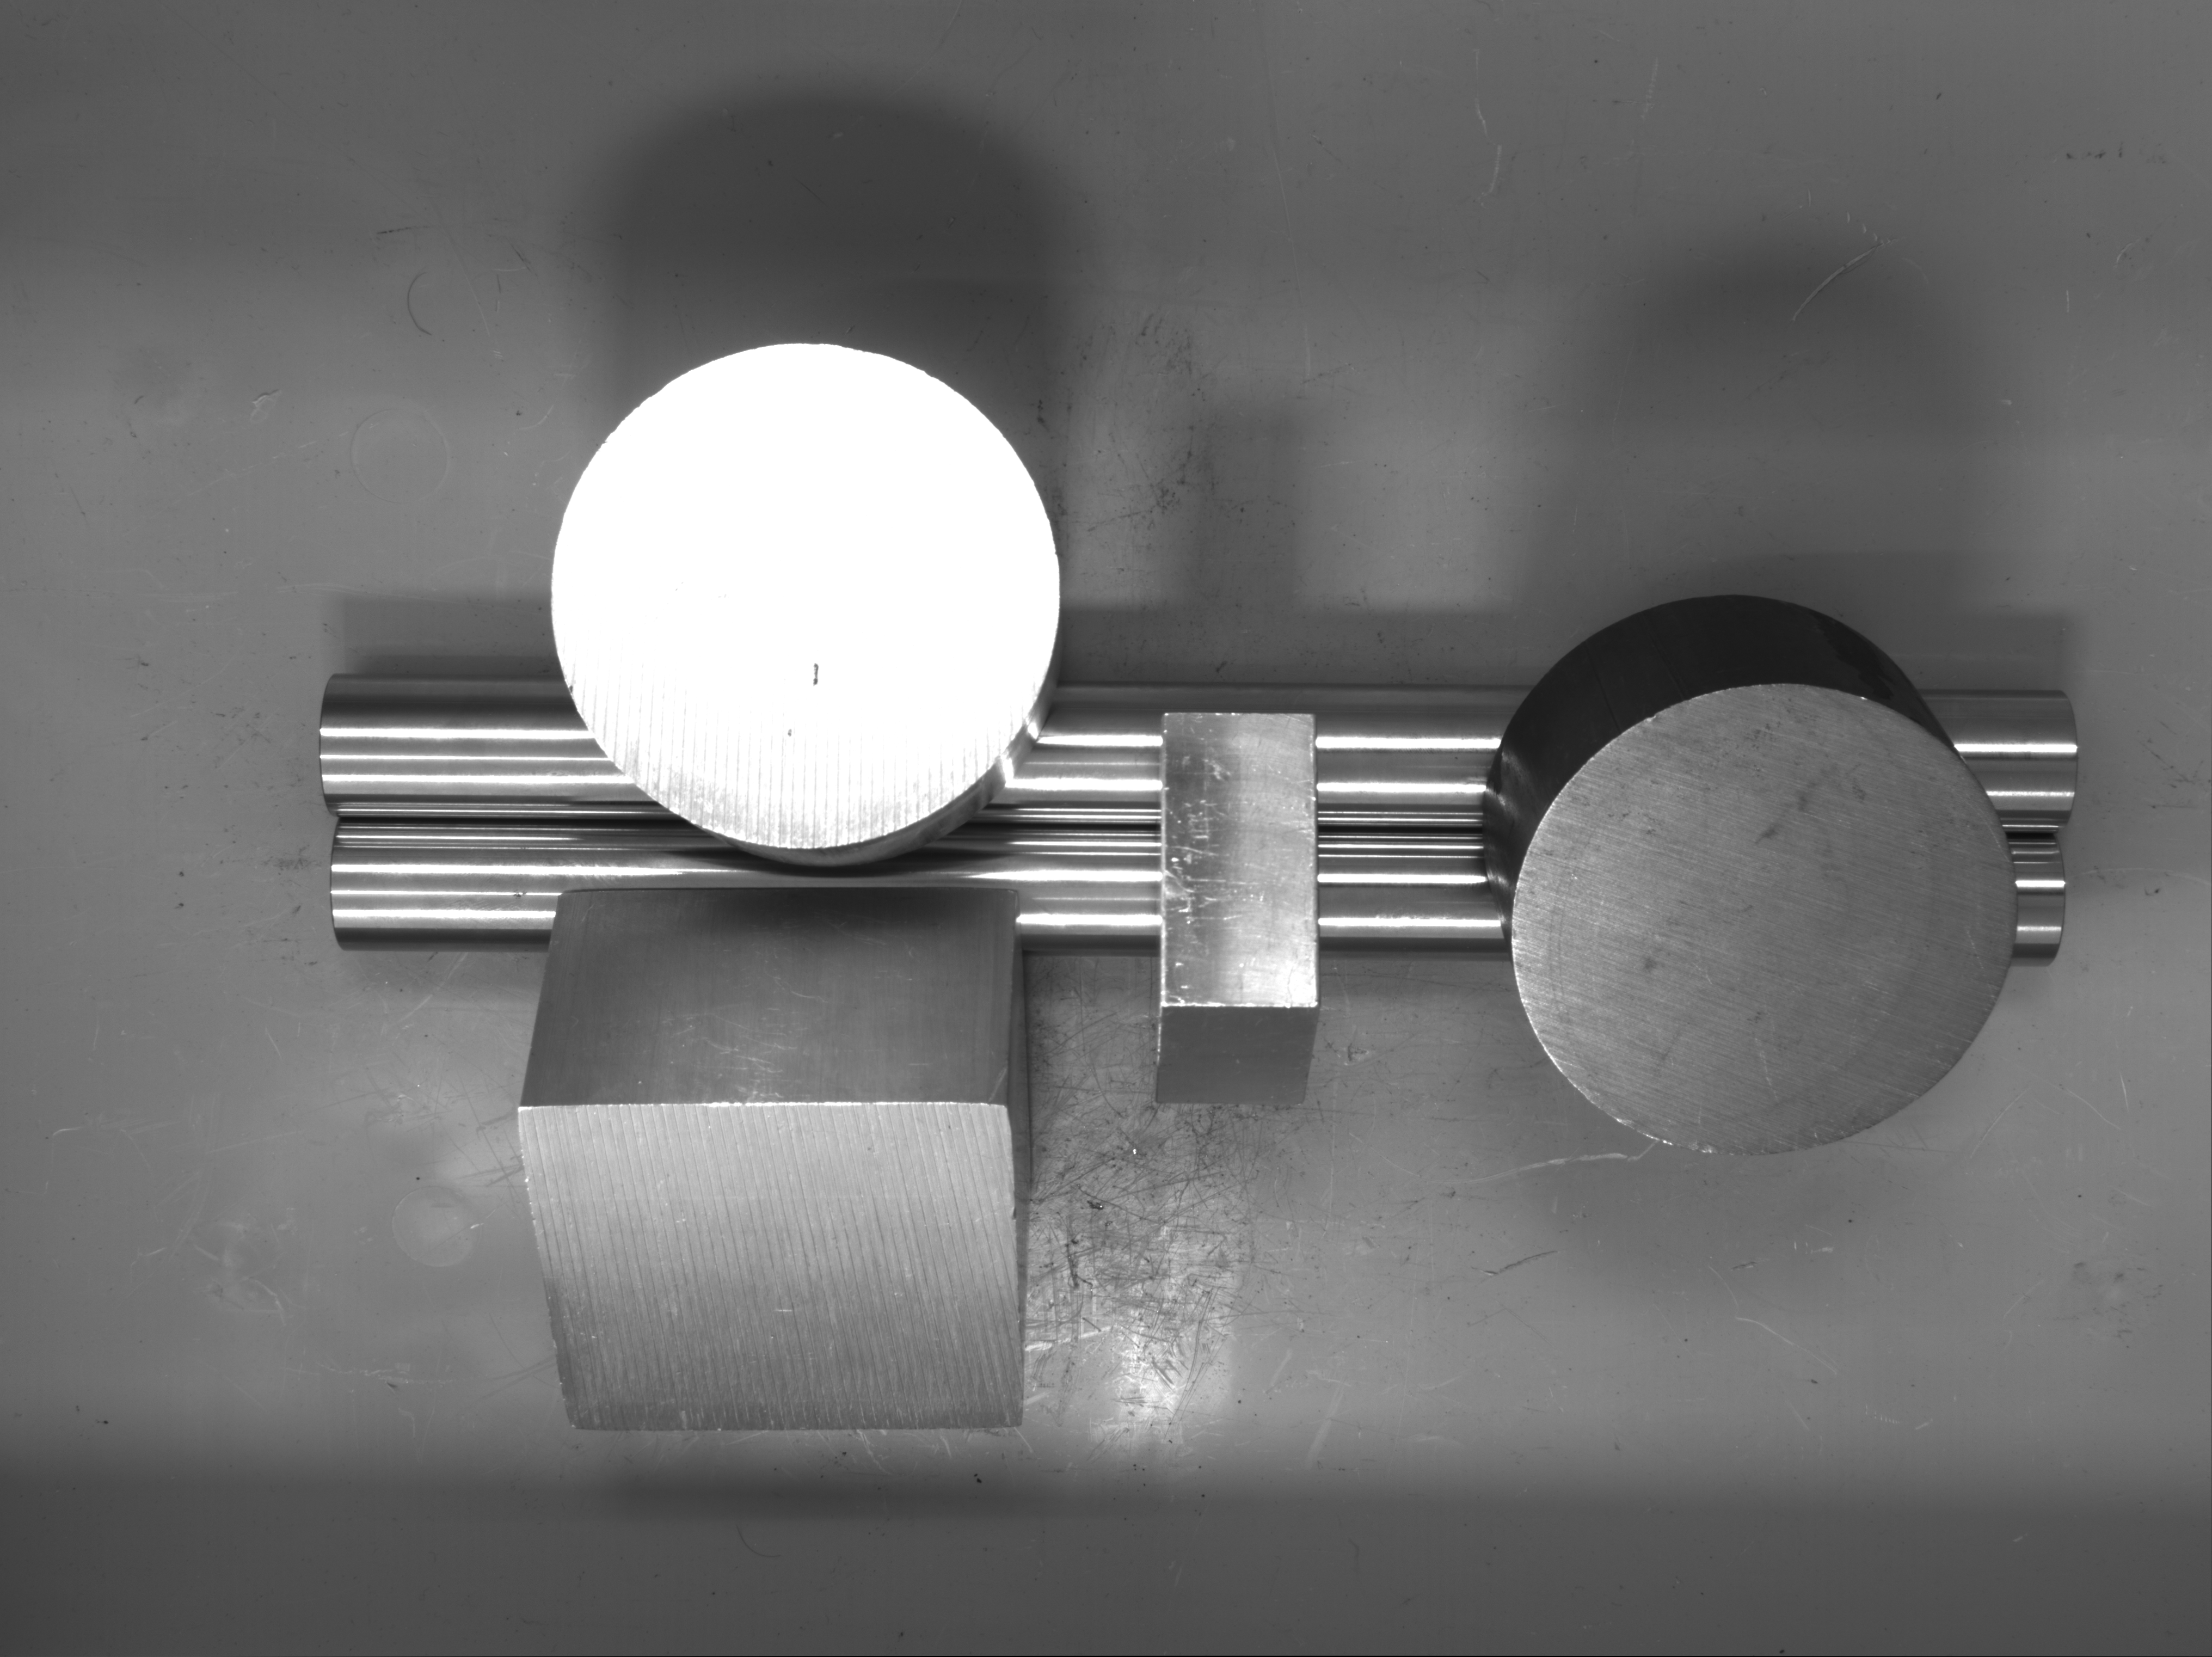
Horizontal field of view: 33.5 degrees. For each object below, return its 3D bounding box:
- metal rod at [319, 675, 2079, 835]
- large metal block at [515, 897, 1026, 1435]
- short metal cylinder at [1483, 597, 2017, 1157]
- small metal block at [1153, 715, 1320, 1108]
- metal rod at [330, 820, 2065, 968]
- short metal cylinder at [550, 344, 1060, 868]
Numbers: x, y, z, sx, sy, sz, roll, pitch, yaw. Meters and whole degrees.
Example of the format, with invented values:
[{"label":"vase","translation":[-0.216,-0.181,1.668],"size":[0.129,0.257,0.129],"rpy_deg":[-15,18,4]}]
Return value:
[{"label":"metal rod","translation":[0.016,-0.013,0.639],"size":[0.300,0.025,0.025],"rpy_deg":[1,110,0]},{"label":"large metal block","translation":[-0.055,0.059,0.636],"size":[0.080,0.050,0.080],"rpy_deg":[-1,130,0]},{"label":"short metal cylinder","translation":[0.105,0.007,0.606],"size":[0.080,0.050,0.080],"rpy_deg":[0,110,0]},{"label":"small metal block","translation":[0.021,0.014,0.605],"size":[0.025,0.050,0.050],"rpy_deg":[1,68,0]},{"label":"metal rod","translation":[0.016,0.011,0.647],"size":[0.300,0.025,0.025],"rpy_deg":[1,110,0]},{"label":"short metal cylinder","translation":[-0.047,-0.035,0.602],"size":[0.080,0.050,0.080],"rpy_deg":[0,86,0]}]
